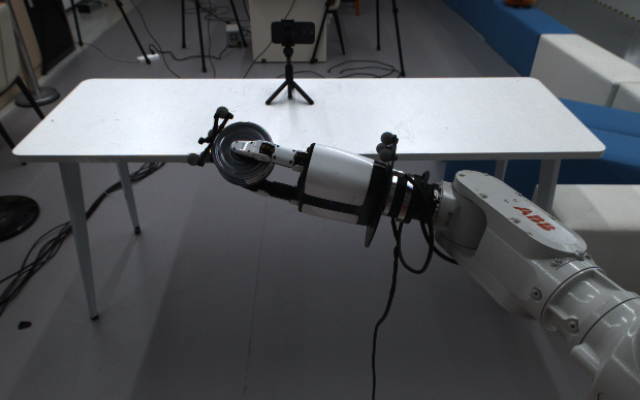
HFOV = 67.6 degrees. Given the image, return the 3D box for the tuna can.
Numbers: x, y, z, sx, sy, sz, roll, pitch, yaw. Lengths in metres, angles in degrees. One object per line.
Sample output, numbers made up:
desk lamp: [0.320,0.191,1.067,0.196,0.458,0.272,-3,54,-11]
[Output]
tuna can: [-0.104,-0.066,0.673,0.085,0.034,0.085,0,75,-2]
